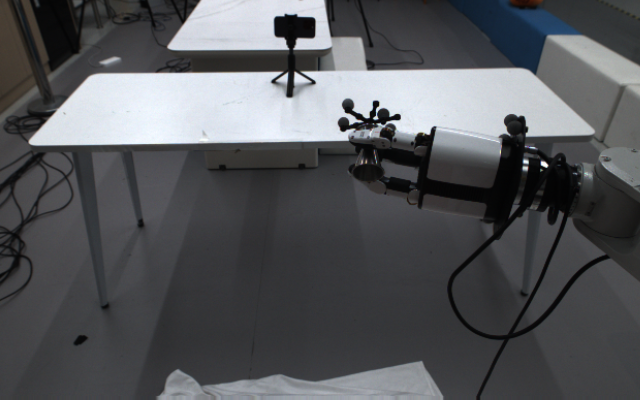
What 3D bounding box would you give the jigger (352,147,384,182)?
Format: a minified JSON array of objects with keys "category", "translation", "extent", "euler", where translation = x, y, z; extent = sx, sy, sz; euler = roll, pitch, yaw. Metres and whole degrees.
[{"category":"jigger","translation":[0.065,-0.067,0.656],"extent":[0.043,0.043,0.071],"euler":[4,61,3]}]
